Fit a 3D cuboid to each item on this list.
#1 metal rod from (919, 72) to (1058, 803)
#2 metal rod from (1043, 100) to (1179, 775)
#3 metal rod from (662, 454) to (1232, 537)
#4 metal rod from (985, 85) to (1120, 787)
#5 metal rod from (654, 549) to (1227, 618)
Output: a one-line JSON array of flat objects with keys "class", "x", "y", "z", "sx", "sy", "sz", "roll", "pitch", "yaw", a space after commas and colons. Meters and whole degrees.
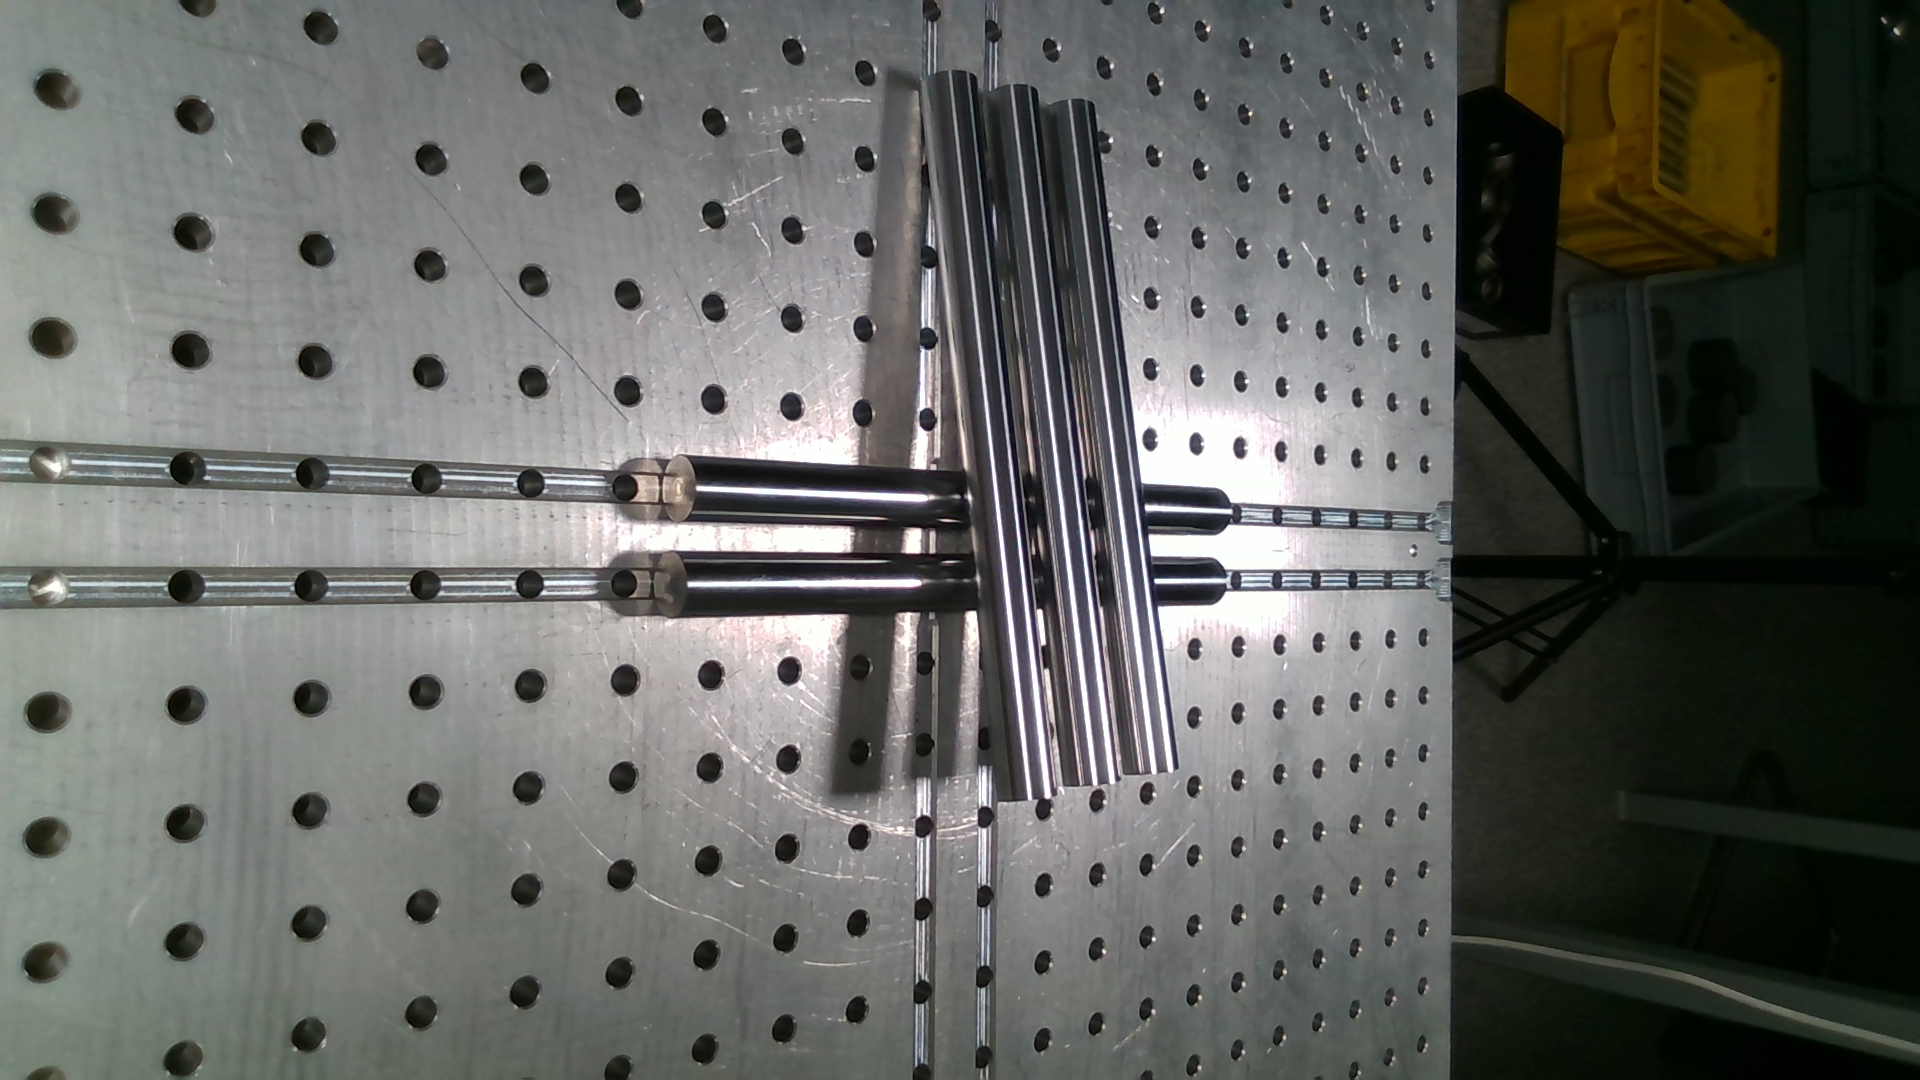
[{"class": "metal rod", "x": 0.011, "y": -0.044, "z": 0.568, "sx": 0.025, "sy": 0.025, "sz": 0.300, "roll": -1, "pitch": 82, "yaw": -40}, {"class": "metal rod", "x": 0.066, "y": -0.047, "z": 0.615, "sx": 0.025, "sy": 0.025, "sz": 0.300, "roll": -2, "pitch": 83, "yaw": -40}, {"class": "metal rod", "x": 0.012, "y": -0.017, "z": 0.597, "sx": 0.300, "sy": 0.025, "sz": 0.025, "roll": 1, "pitch": 89, "yaw": -40}, {"class": "metal rod", "x": 0.038, "y": -0.046, "z": 0.592, "sx": 0.025, "sy": 0.025, "sz": 0.300, "roll": -2, "pitch": 83, "yaw": -40}, {"class": "metal rod", "x": 0.010, "y": 0.018, "z": 0.595, "sx": 0.300, "sy": 0.025, "sz": 0.025, "roll": 1, "pitch": 89, "yaw": -40}]
